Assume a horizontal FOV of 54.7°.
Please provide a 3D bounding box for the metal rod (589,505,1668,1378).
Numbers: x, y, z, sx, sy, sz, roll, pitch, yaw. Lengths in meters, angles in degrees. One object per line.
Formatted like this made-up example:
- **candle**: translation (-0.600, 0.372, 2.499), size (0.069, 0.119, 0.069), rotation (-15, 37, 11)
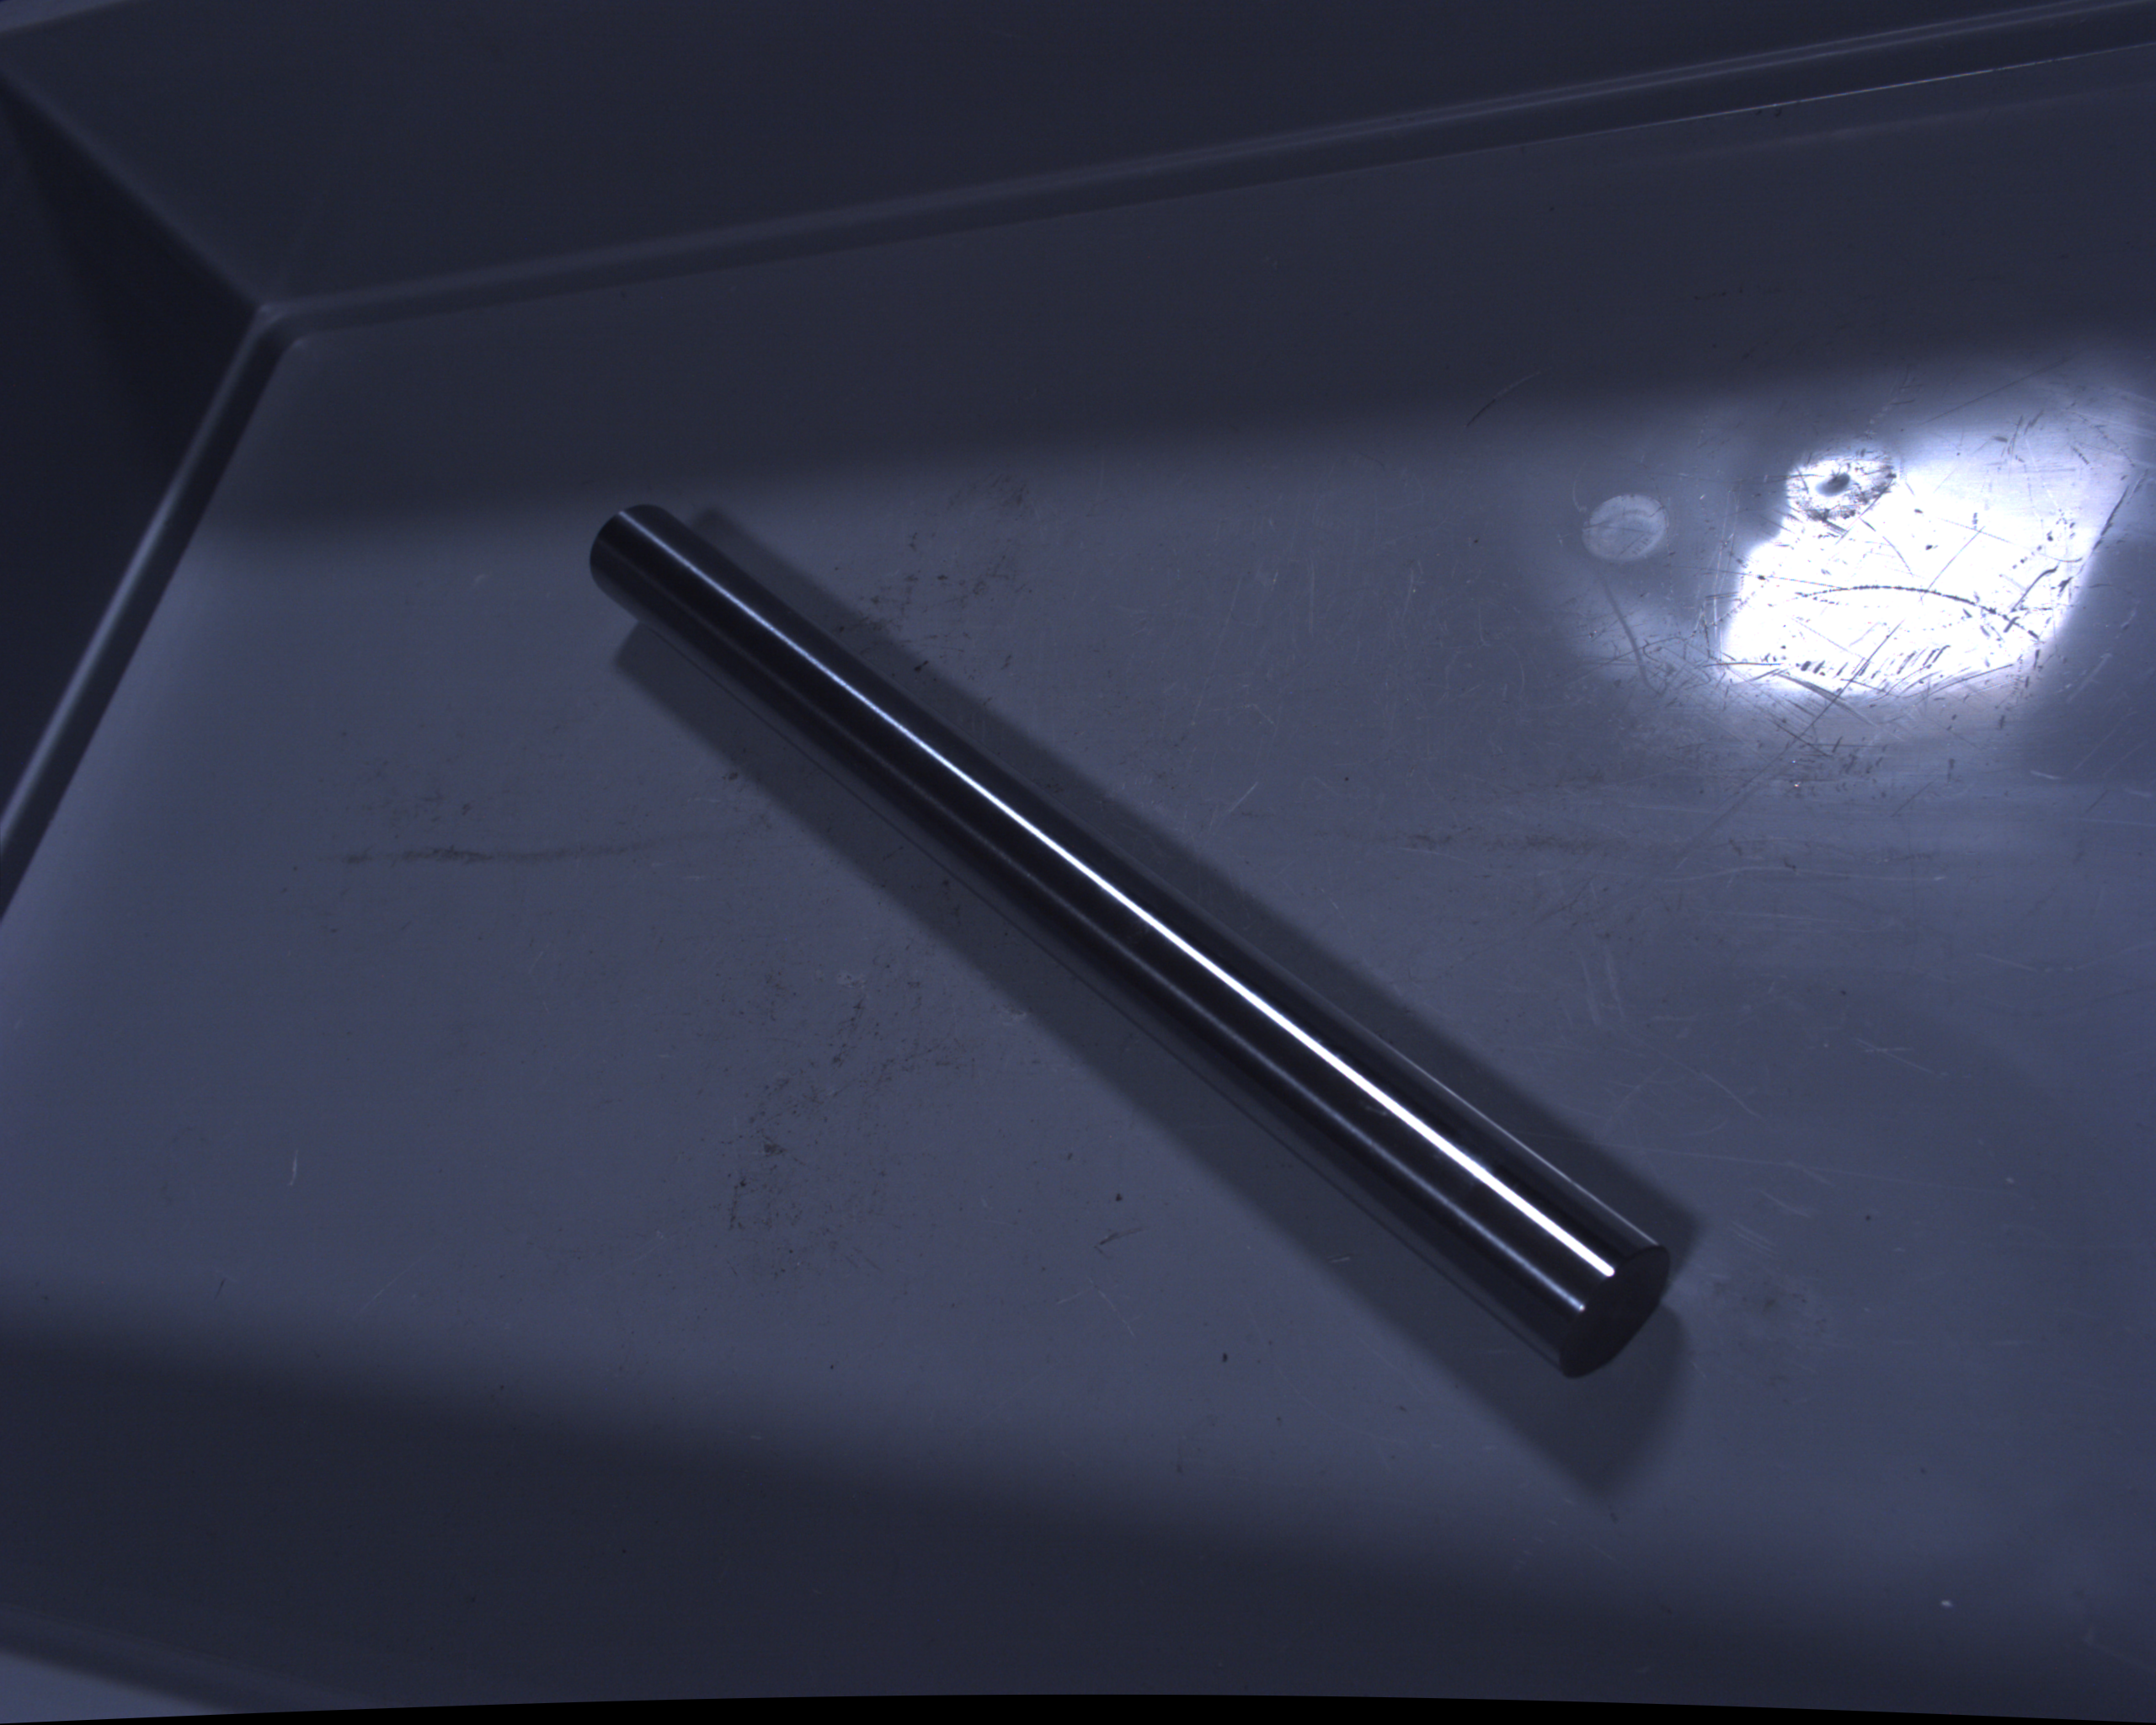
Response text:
- **metal rod**: translation (-0.012, -0.003, 0.410), size (0.025, 0.025, 0.300), rotation (-48, 52, -6)
